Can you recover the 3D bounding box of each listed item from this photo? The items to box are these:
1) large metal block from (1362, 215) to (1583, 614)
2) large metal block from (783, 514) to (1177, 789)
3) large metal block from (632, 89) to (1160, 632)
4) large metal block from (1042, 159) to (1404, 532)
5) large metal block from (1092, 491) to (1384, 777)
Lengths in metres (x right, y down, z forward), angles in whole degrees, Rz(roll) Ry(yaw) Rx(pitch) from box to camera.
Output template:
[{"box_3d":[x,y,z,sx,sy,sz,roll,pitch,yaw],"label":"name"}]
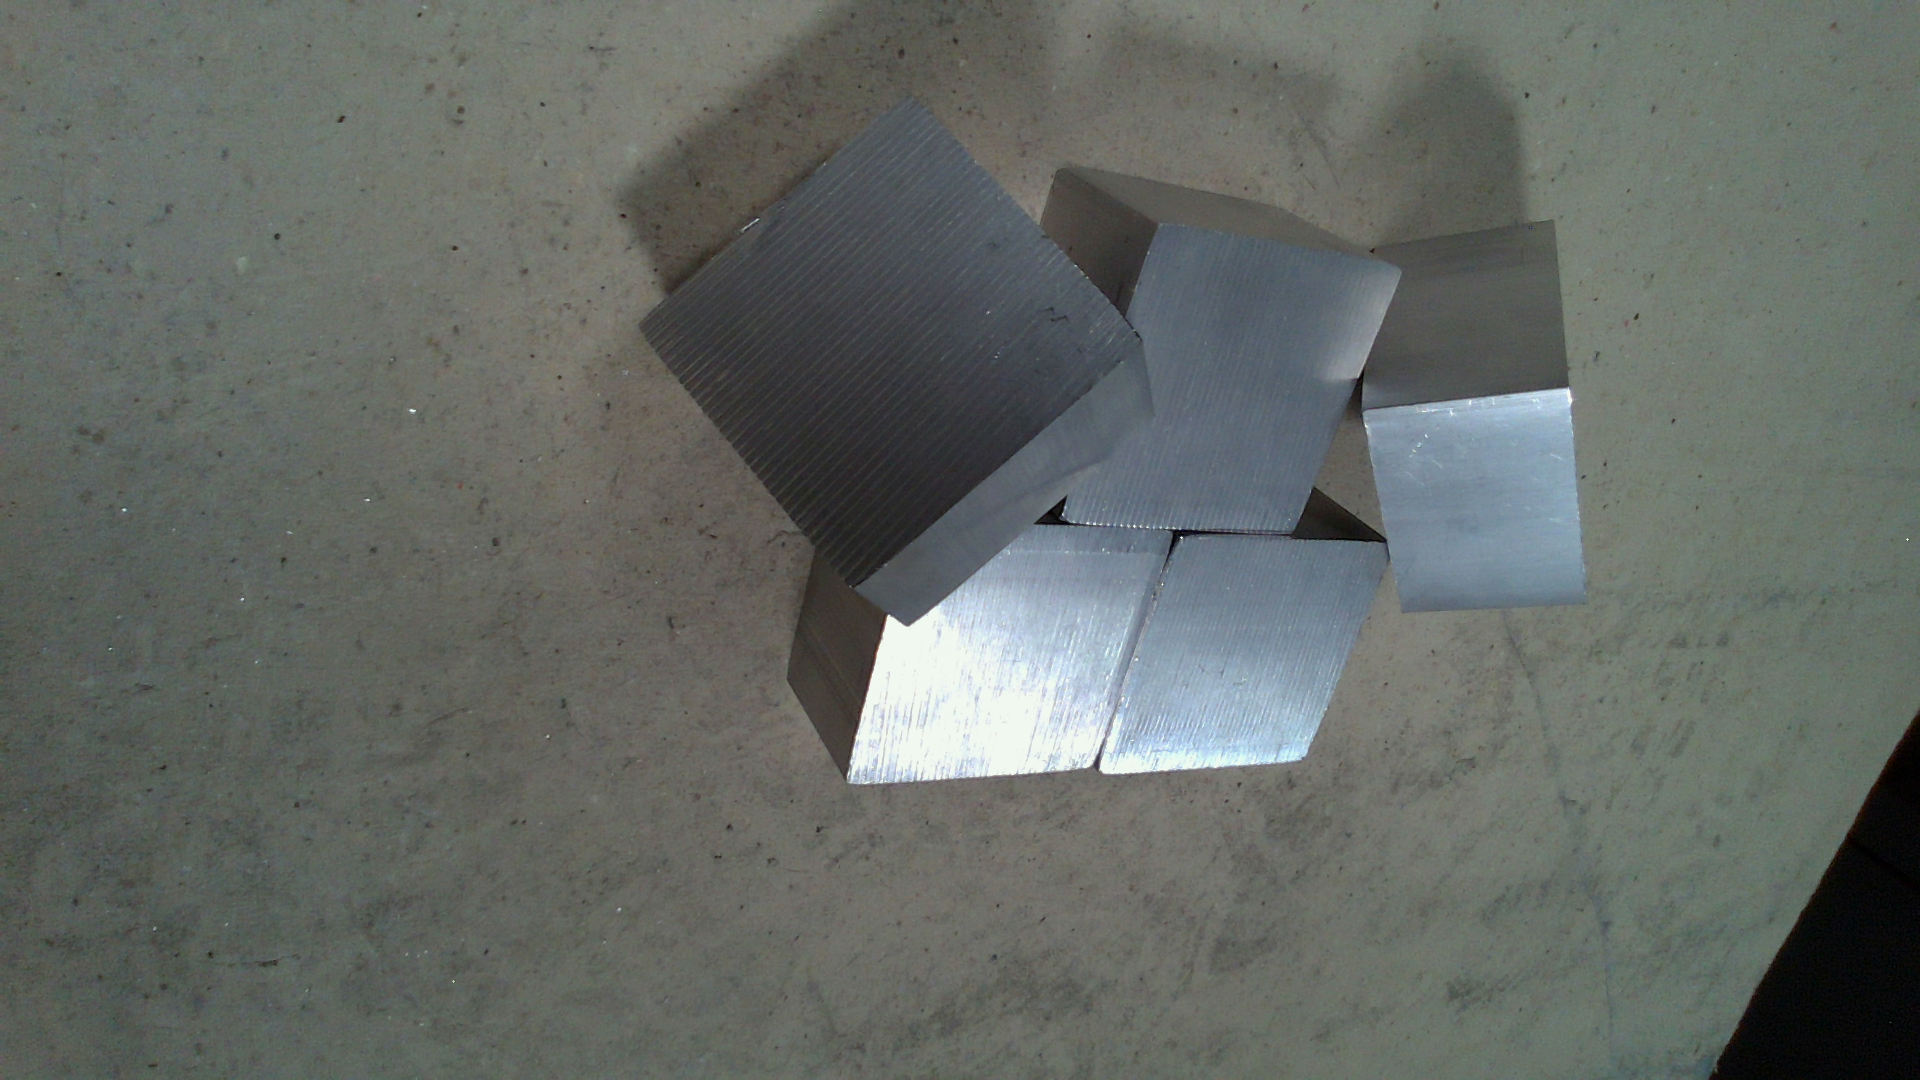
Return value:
[{"box_3d":[0.152,-0.036,0.406,0.050,0.080,0.080,-5,132,23],"label":"large metal block"},{"box_3d":[0.003,0.020,0.386,0.080,0.050,0.080,1,118,-29],"label":"large metal block"},{"box_3d":[-0.012,-0.039,0.315,0.080,0.080,0.050,-40,164,-1],"label":"large metal block"},{"box_3d":[0.060,-0.051,0.375,0.080,0.050,0.080,3,117,-30],"label":"large metal block"},{"box_3d":[0.075,0.023,0.425,0.080,0.050,0.080,1,118,-29],"label":"large metal block"}]
